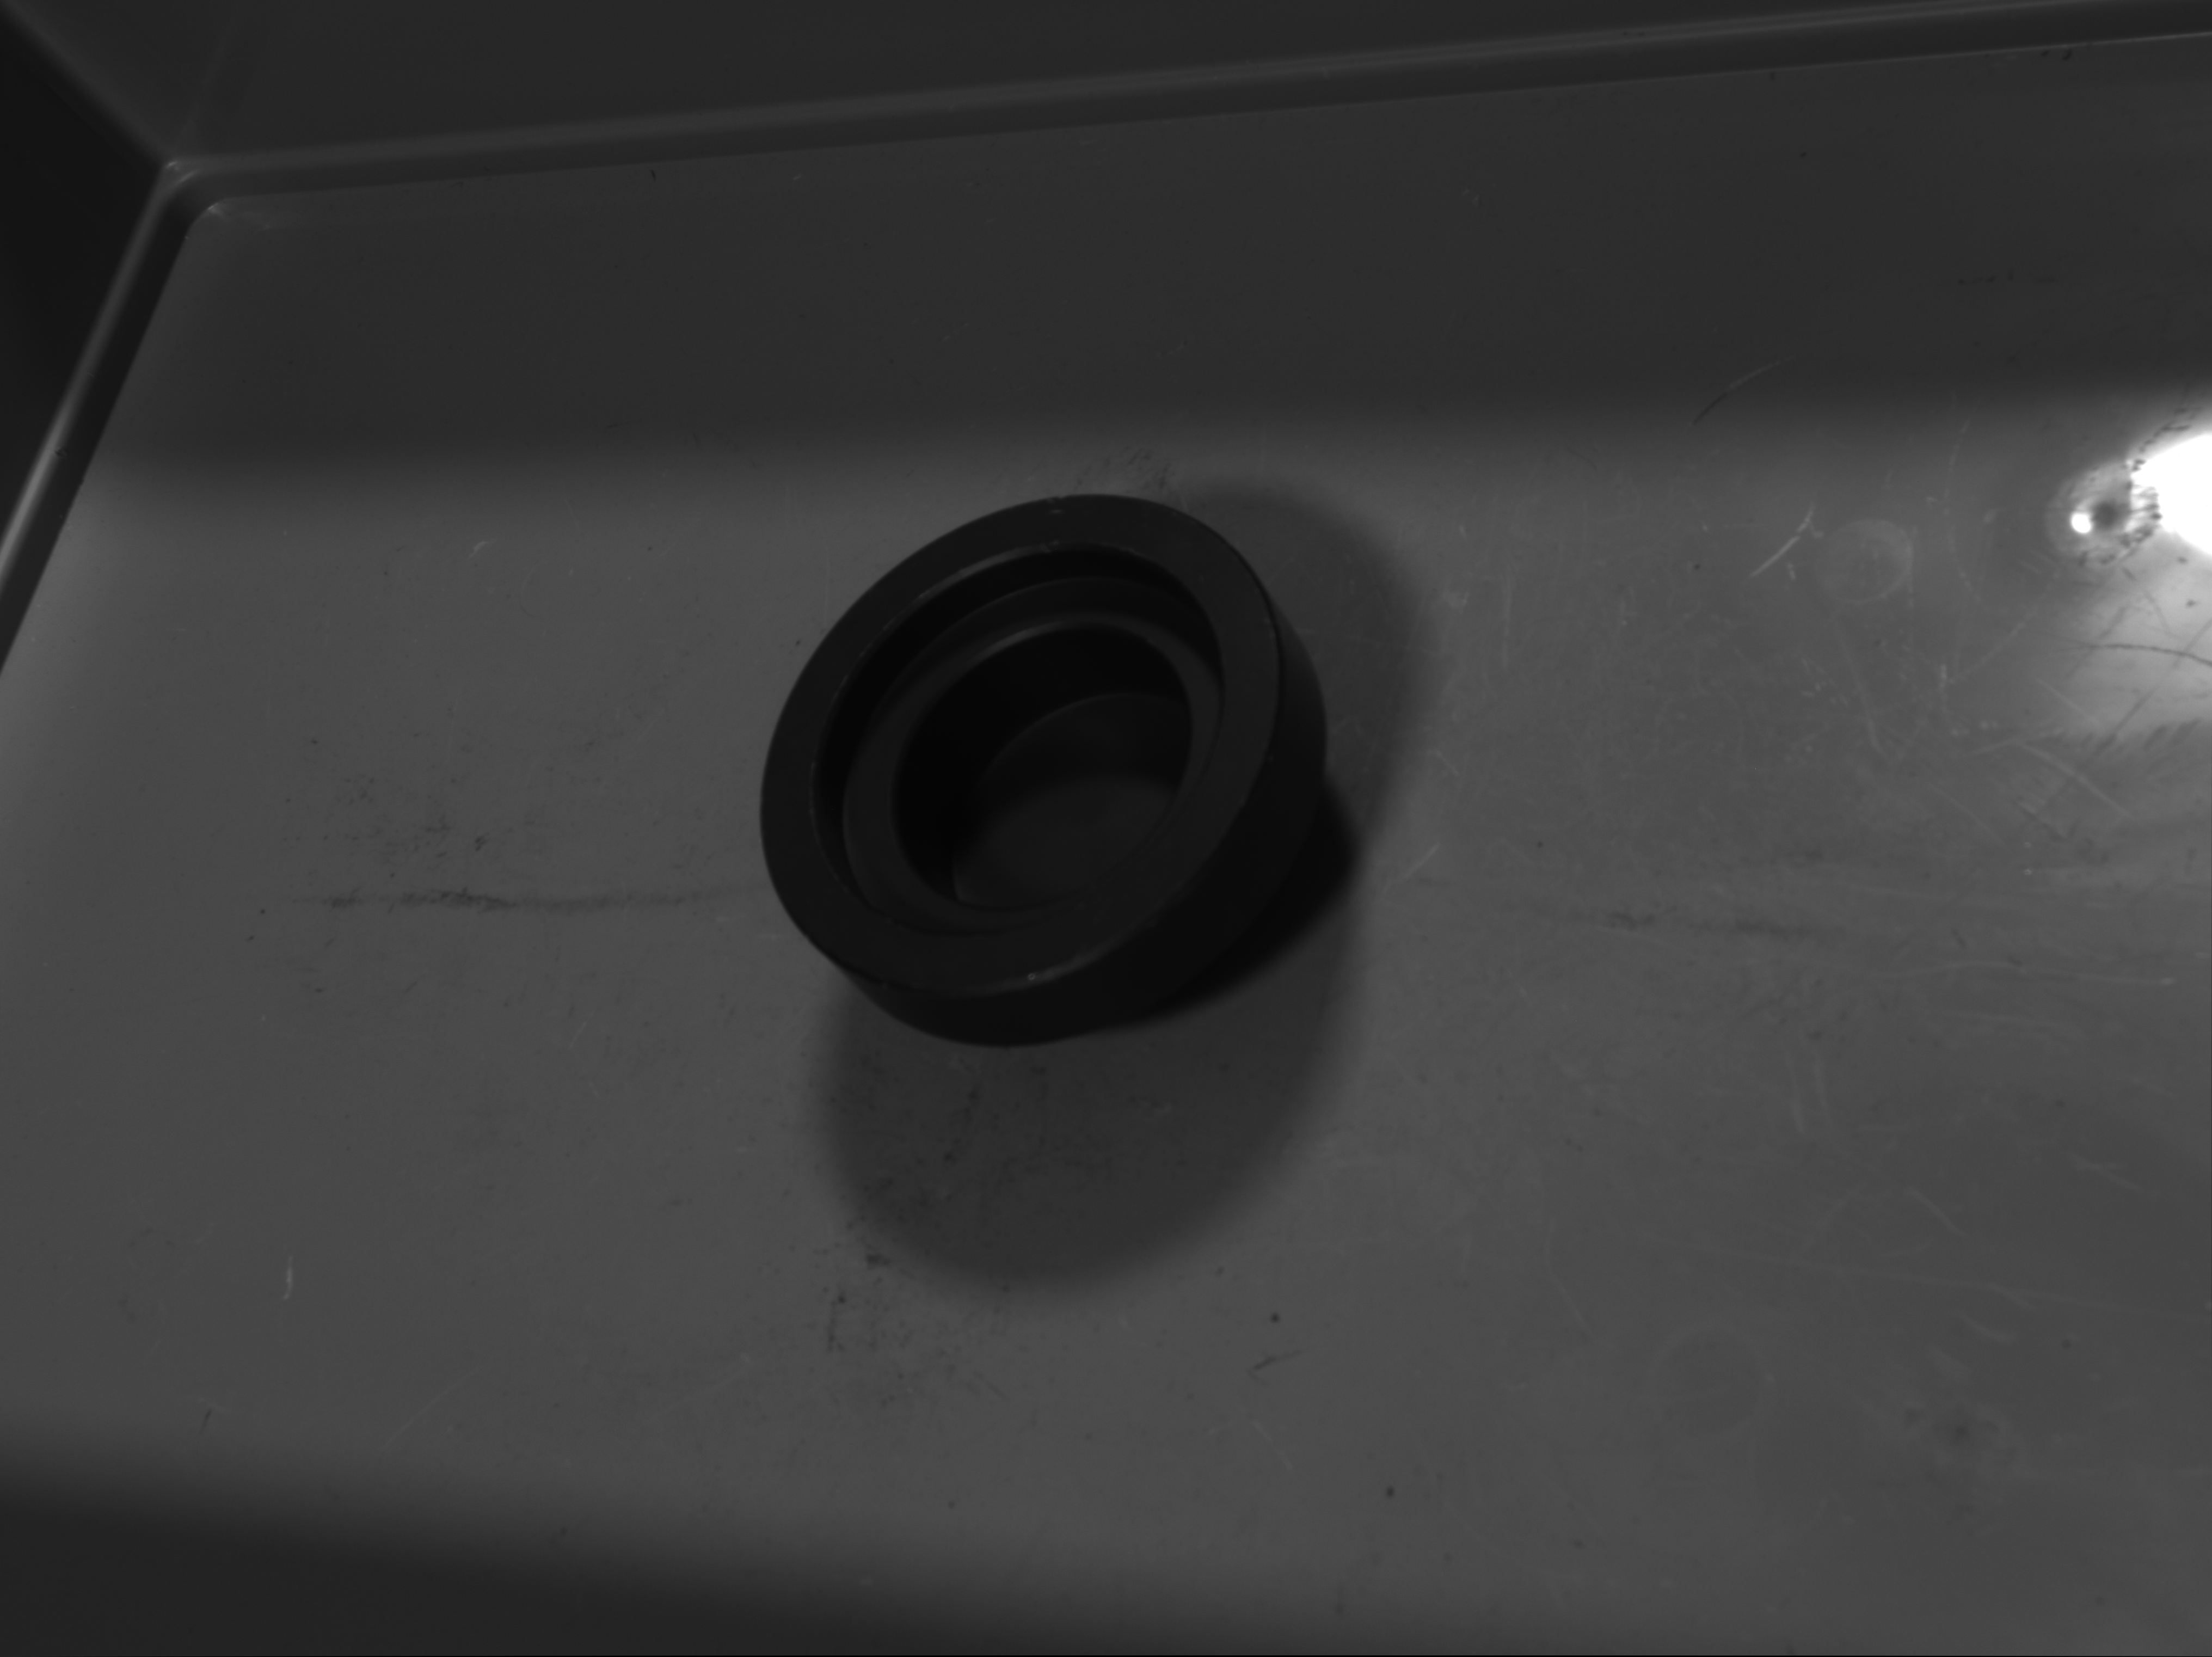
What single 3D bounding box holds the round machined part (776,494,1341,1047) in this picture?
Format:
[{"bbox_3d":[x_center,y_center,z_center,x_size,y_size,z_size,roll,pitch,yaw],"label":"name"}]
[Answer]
[{"bbox_3d":[-0.004,-0.006,0.635,0.098,0.042,0.098,-13,56,21],"label":"round machined part"}]
